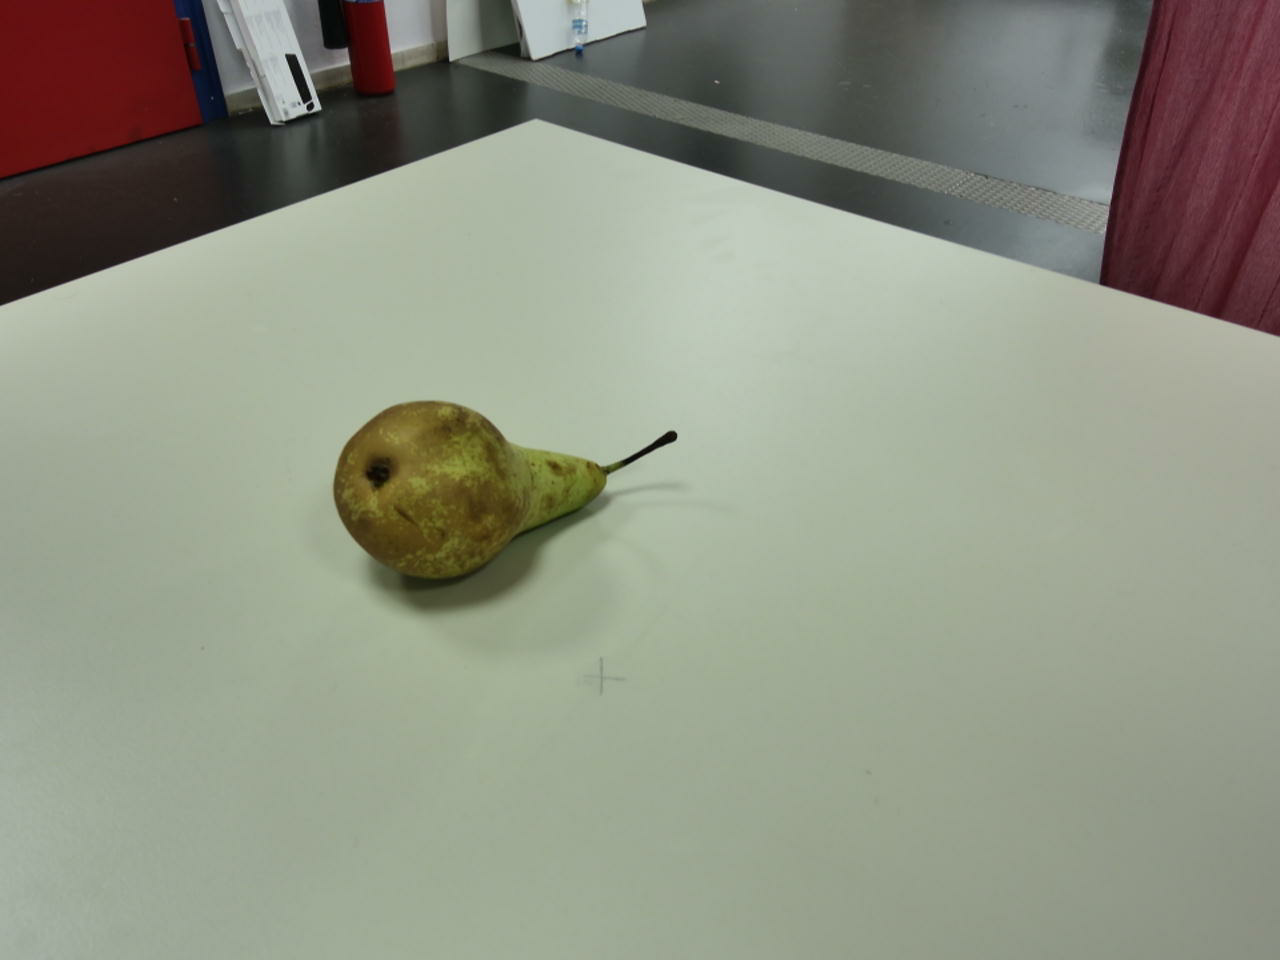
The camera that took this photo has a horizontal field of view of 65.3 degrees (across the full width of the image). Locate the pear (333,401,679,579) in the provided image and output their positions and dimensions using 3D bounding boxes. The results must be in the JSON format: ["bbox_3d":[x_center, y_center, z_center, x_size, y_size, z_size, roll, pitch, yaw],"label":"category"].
[{"bbox_3d":[-0.058,-0.010,0.418,0.071,0.075,0.144,30,45,35],"label":"pear"}]
